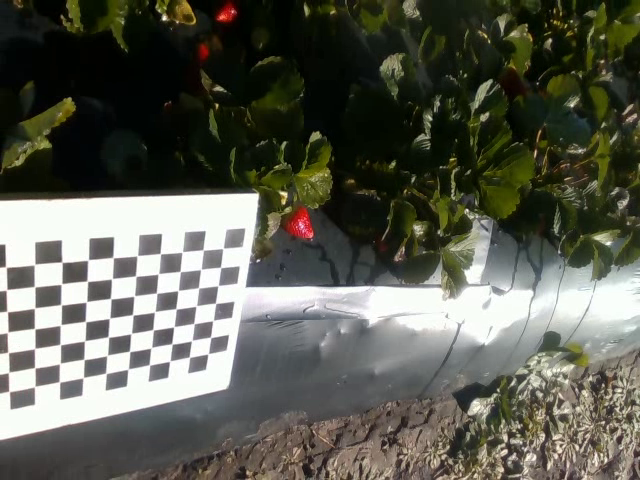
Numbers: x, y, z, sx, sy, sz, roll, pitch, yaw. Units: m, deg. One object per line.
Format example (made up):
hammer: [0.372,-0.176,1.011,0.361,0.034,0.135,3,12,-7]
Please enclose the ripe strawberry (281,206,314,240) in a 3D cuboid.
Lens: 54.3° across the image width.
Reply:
ripe strawberry: [-0.028,-0.019,0.810,0.029,0.048,0.055,40,-9,49]
